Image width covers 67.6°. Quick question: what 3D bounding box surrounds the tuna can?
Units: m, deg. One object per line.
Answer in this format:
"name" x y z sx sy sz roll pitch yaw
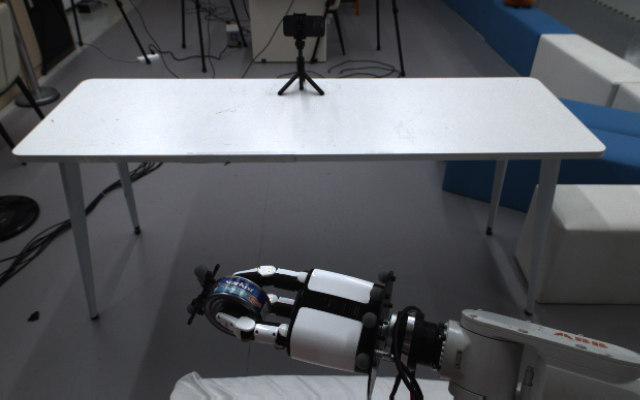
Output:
"tuna can" -0.109 0.148 0.645 0.085 0.085 0.034 9 36 11
